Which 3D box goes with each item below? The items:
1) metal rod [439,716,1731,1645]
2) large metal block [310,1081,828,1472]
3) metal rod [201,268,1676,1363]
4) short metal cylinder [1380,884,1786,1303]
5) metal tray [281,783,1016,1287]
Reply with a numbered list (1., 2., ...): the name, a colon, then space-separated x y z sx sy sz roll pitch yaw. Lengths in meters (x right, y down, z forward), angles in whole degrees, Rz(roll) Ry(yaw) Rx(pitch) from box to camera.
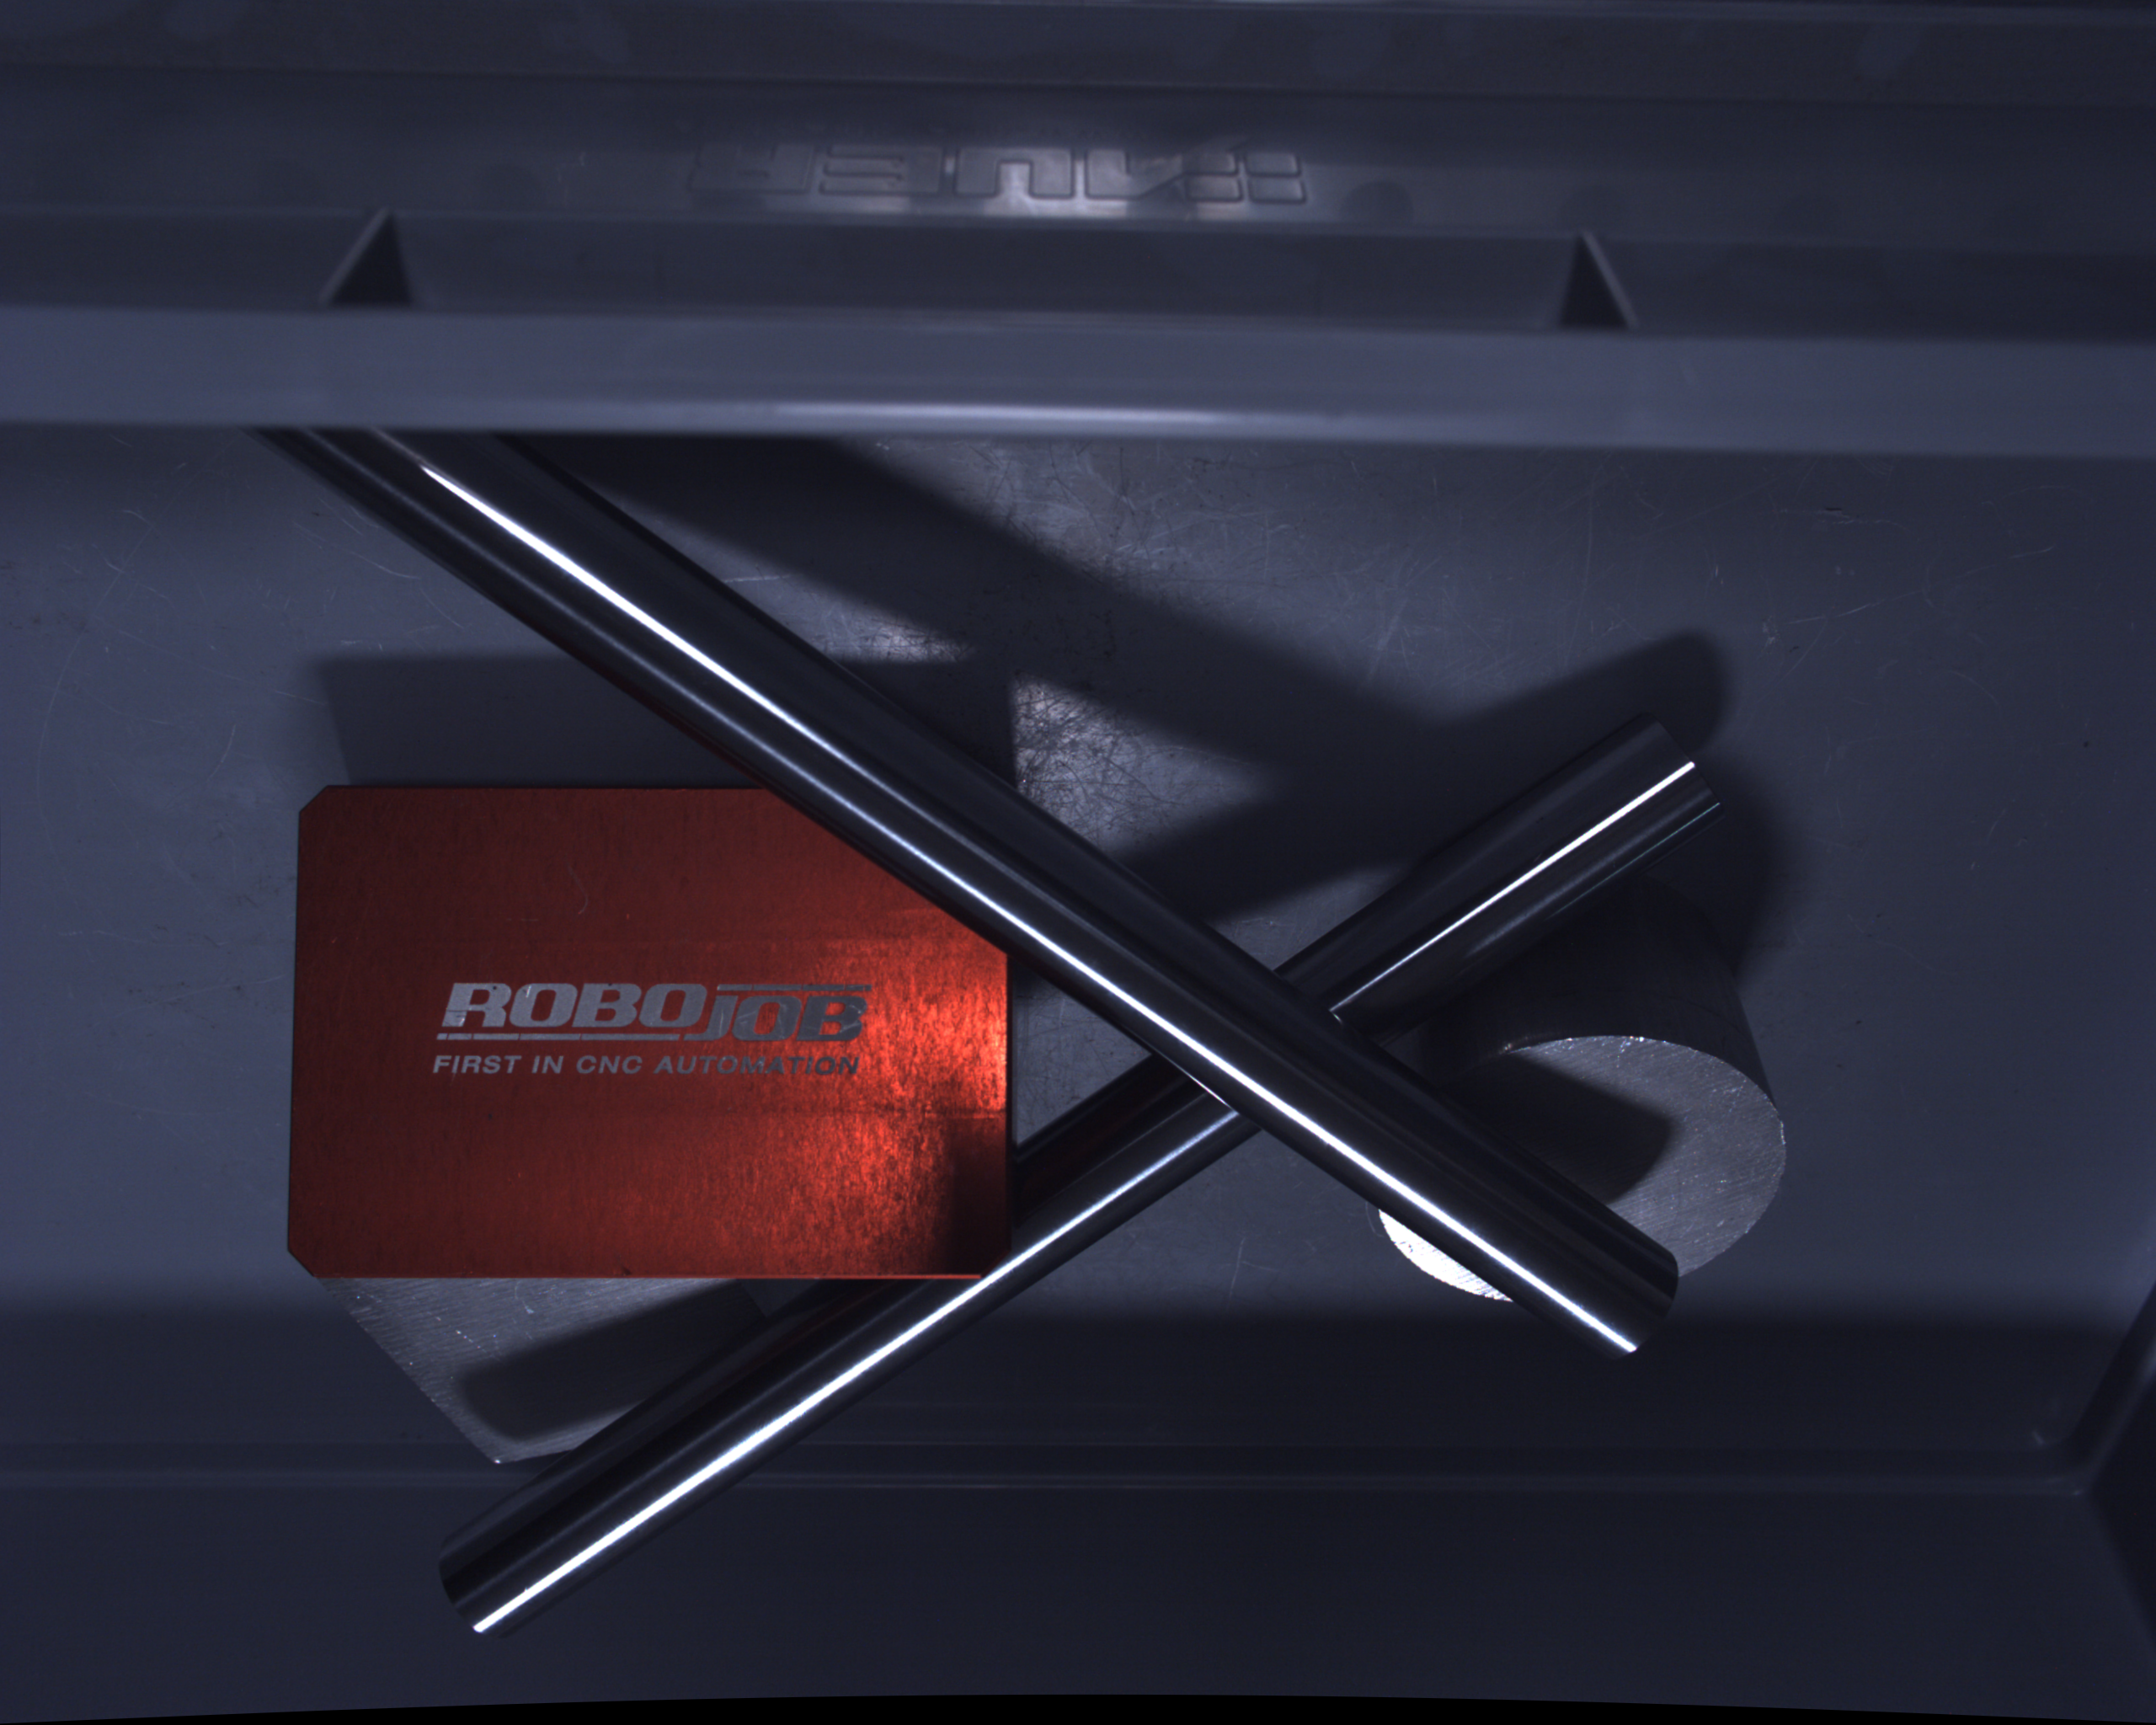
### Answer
1. metal rod: -0.005 0.068 0.417 0.300 0.025 0.025 -35 123 9
2. large metal block: -0.107 0.082 0.455 0.080 0.050 0.080 -15 129 12
3. metal rod: -0.014 0.000 0.368 0.301 0.025 0.025 36 122 -12
4. short metal cylinder: 0.099 0.047 0.431 0.081 0.050 0.079 0 130 0
5. metal tray: -0.078 0.032 0.394 0.131 0.030 0.089 1 86 0
